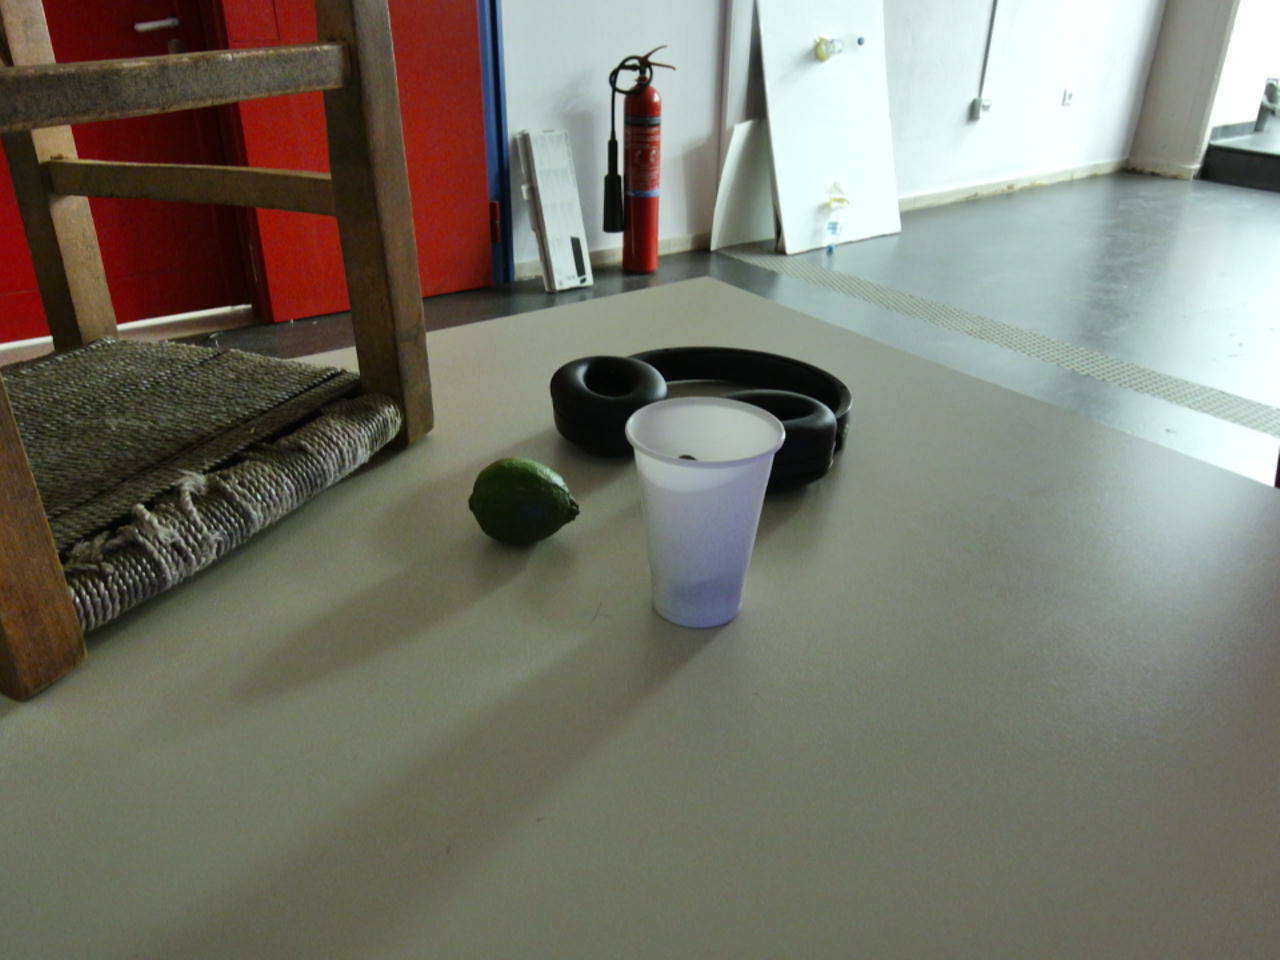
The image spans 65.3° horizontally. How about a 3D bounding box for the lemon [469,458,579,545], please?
[{"bbox_3d":[-0.071,0.012,0.588,0.057,0.051,0.054,-20,32,-36],"label":"lemon"}]
